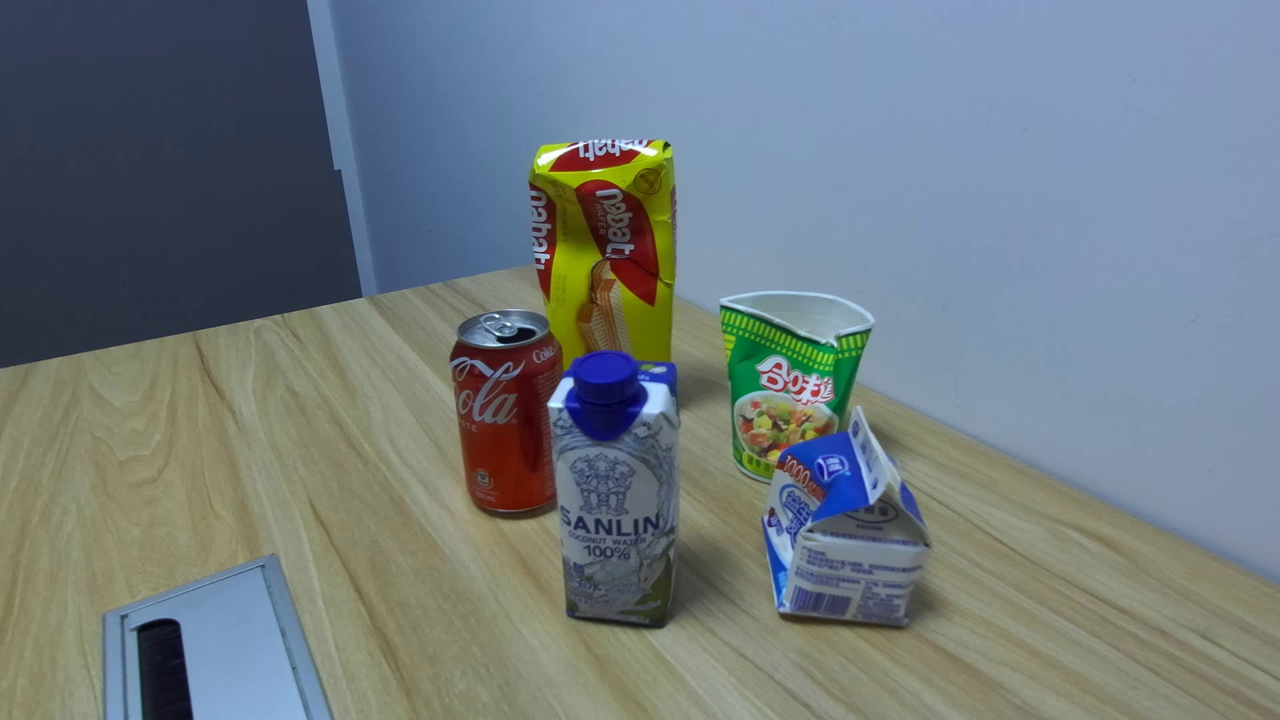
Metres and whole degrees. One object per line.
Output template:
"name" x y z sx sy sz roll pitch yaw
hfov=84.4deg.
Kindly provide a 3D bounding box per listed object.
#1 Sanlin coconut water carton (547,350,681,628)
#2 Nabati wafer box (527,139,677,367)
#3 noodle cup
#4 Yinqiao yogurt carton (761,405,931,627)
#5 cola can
"Sanlin coconut water carton" -0.011 0.061 0.351 0.060 0.144 0.061 3 24 9
"Nabati wafer box" -0.026 -0.057 0.521 0.107 0.204 0.042 3 27 6
"noodle cup" 0.101 0.019 0.469 0.075 0.122 0.082 -6 17 -28
"Yinqiao yogurt carton" 0.109 0.078 0.366 0.071 0.094 0.077 6 27 1
"cola can" -0.080 0.031 0.442 0.068 0.120 0.068 0 26 0
